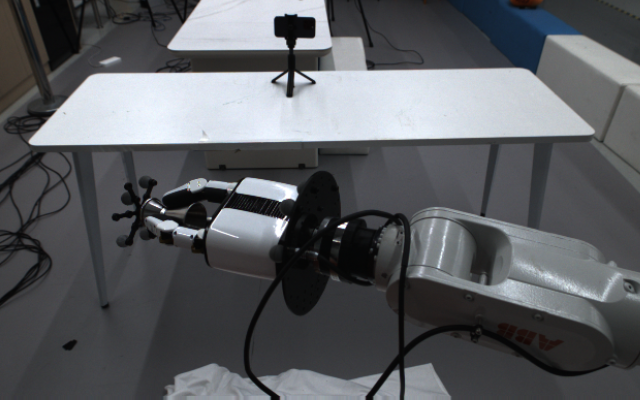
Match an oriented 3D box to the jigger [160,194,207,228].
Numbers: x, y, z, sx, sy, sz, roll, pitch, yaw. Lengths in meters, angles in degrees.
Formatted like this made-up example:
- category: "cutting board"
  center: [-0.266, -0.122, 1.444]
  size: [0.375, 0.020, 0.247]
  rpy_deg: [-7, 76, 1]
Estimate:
- category: "jigger"
  center: [-0.174, 0.018, 0.591]
  size: [0.071, 0.043, 0.043]
  rpy_deg: [7, 34, 22]
